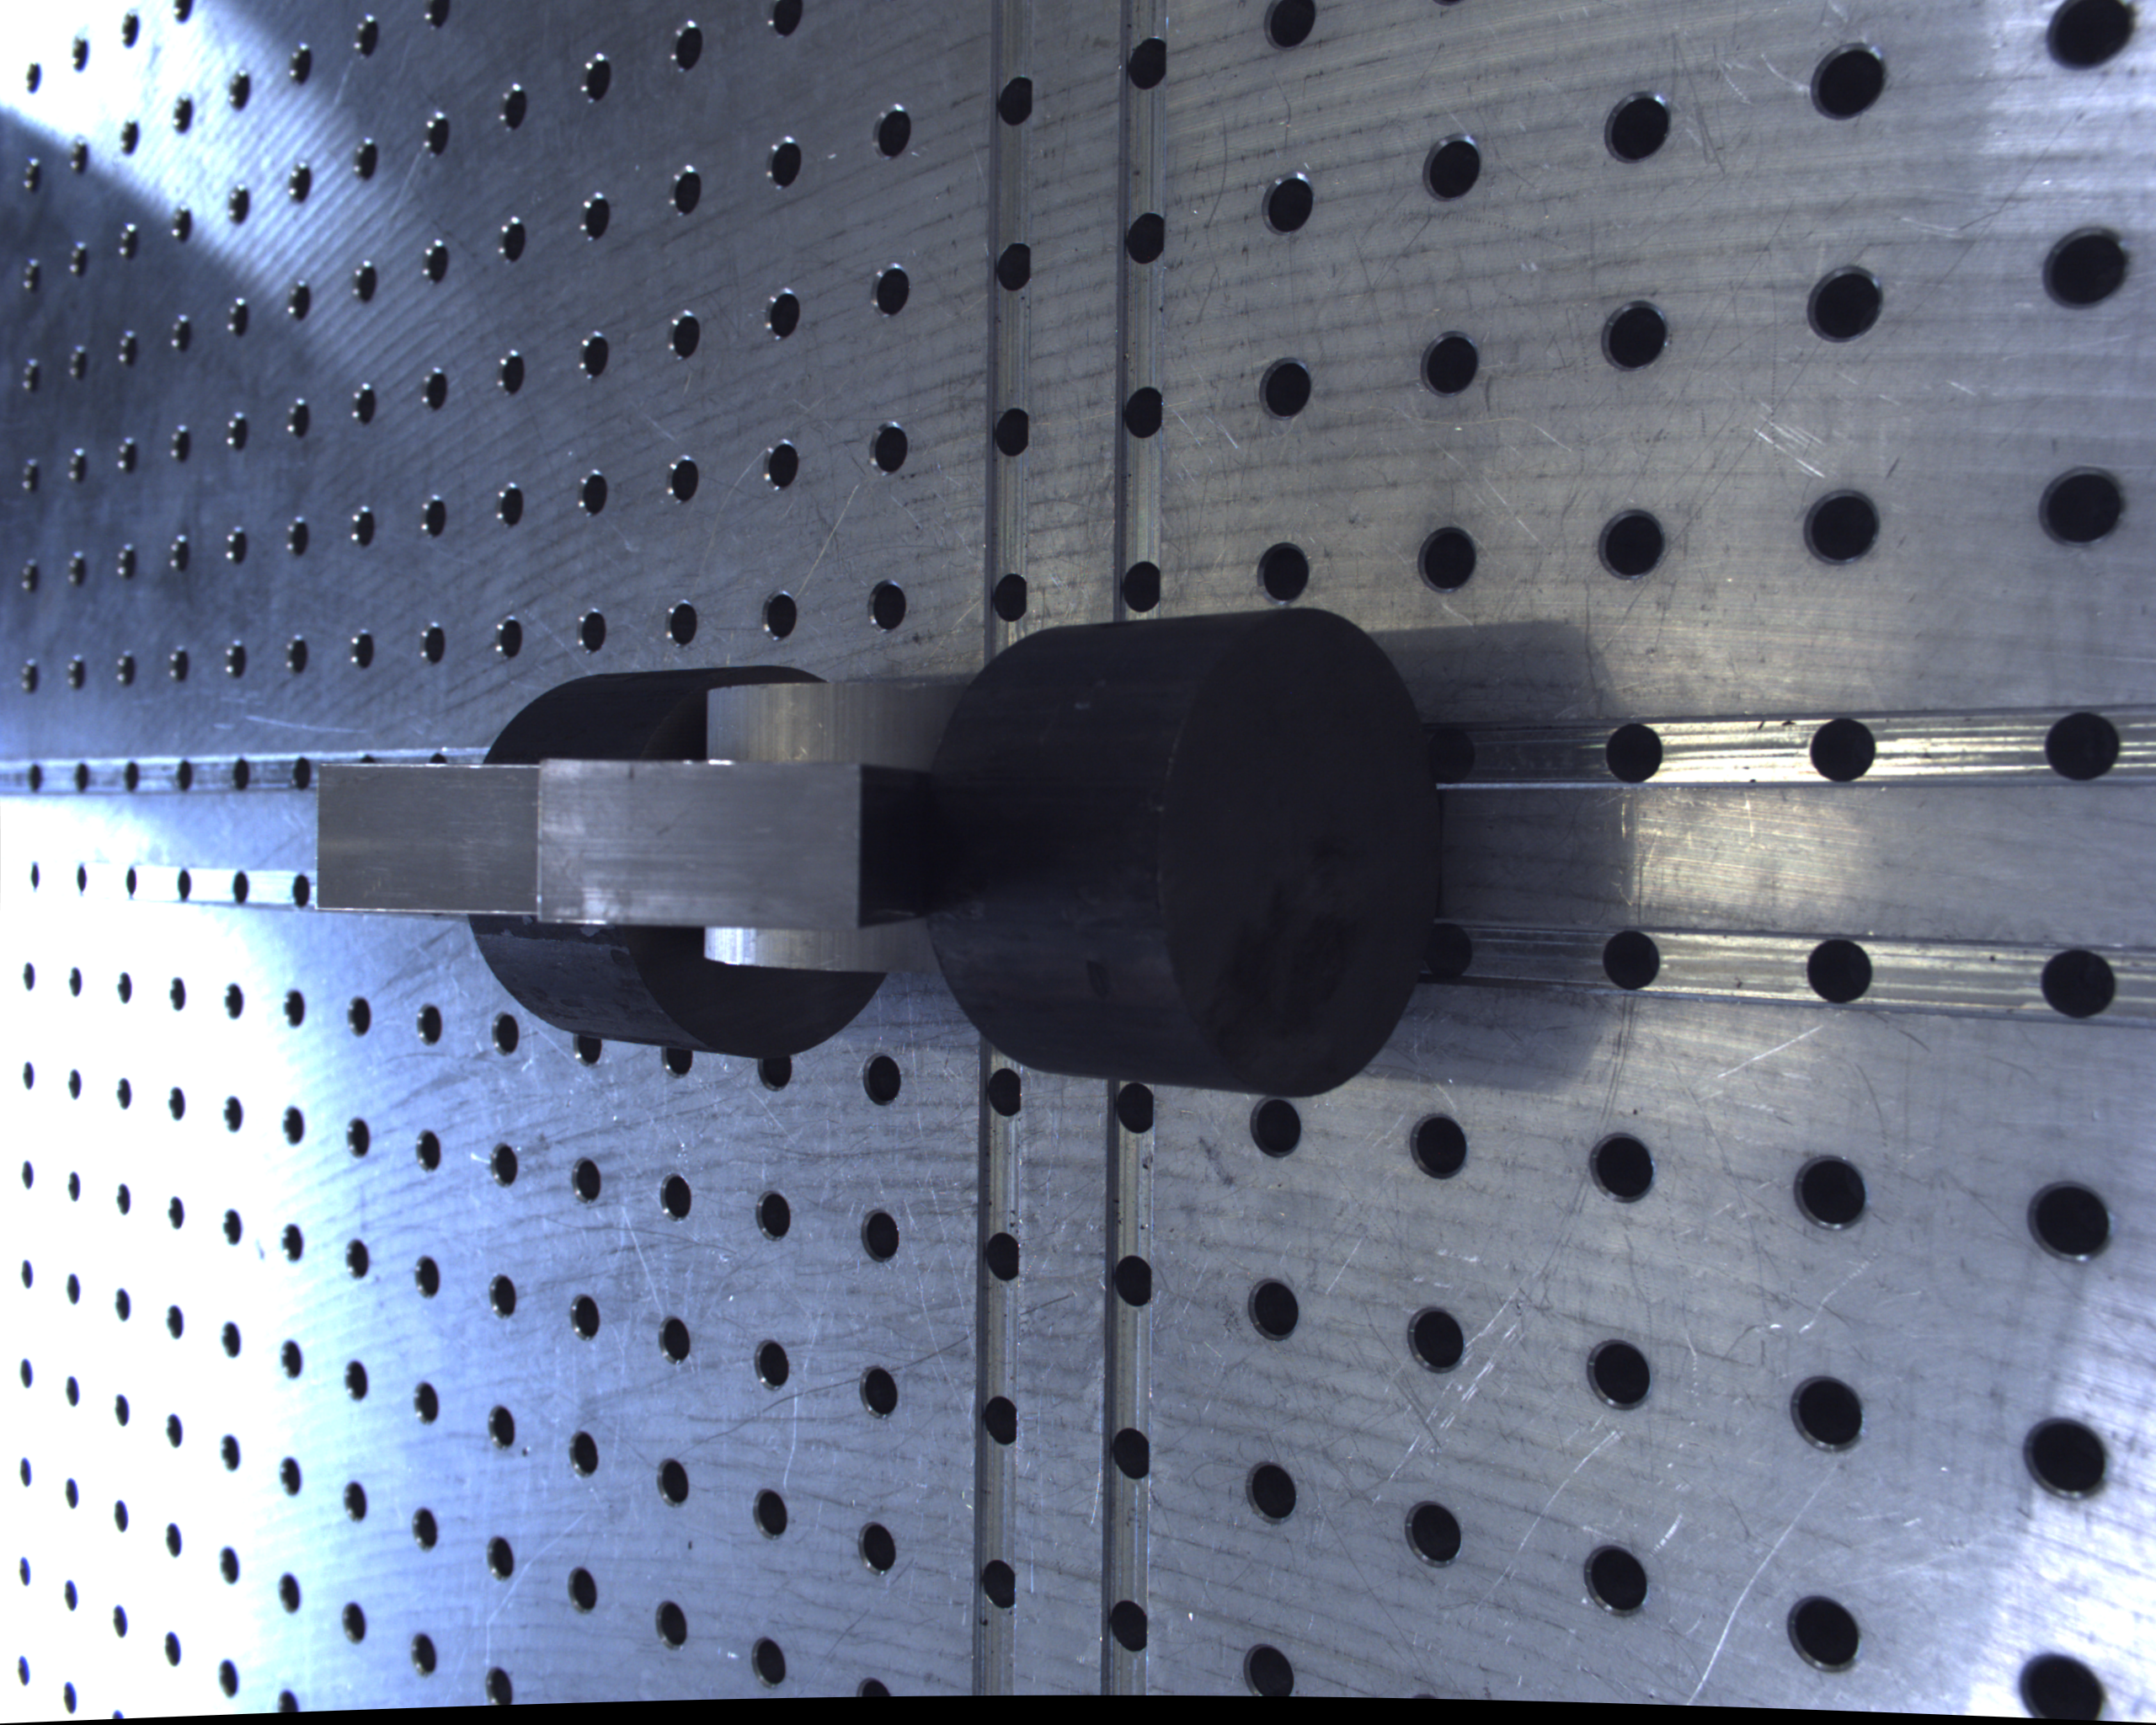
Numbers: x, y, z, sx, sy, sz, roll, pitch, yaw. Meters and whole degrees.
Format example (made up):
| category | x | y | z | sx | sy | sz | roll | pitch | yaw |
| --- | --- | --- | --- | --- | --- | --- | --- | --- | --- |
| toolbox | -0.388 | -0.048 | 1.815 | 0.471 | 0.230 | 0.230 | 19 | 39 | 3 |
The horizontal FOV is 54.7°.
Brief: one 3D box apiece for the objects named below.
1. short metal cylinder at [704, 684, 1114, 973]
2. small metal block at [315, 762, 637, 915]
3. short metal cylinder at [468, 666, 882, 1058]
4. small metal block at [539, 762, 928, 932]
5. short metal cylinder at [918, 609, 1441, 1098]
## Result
| category | x | y | z | sx | sy | sz | roll | pitch | yaw |
| --- | --- | --- | --- | --- | --- | --- | --- | --- | --- |
| short metal cylinder | -0.030 | -0.007 | 0.398 | 0.080 | 0.081 | 0.050 | 2 | 91 | 40 |
| small metal block | -0.098 | -0.004 | 0.368 | 0.050 | 0.050 | 0.025 | 1 | 91 | 8 |
| short metal cylinder | -0.081 | -0.001 | 0.440 | 0.050 | 0.081 | 0.079 | 2 | 91 | 40 |
| small metal block | -0.052 | -0.003 | 0.336 | 0.050 | 0.050 | 0.025 | 1 | 91 | 9 |
| short metal cylinder | 0.019 | -0.002 | 0.357 | 0.050 | 0.081 | 0.079 | 1 | 91 | 41 |
